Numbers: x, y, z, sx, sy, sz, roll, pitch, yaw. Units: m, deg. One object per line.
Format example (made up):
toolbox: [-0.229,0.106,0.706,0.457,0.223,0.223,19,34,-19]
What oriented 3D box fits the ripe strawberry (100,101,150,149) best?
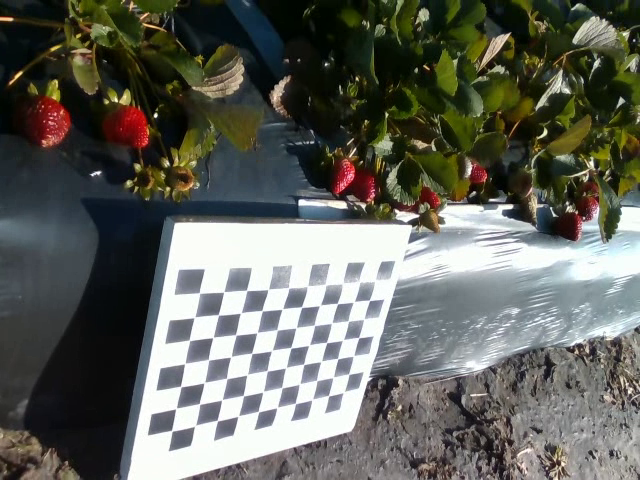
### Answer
ripe strawberry: [-0.167,-0.096,0.534,0.042,0.049,0.039,-40,-21,-12]

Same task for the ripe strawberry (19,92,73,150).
ripe strawberry: [-0.222,-0.090,0.486,0.051,0.050,0.044,22,-59,-45]
